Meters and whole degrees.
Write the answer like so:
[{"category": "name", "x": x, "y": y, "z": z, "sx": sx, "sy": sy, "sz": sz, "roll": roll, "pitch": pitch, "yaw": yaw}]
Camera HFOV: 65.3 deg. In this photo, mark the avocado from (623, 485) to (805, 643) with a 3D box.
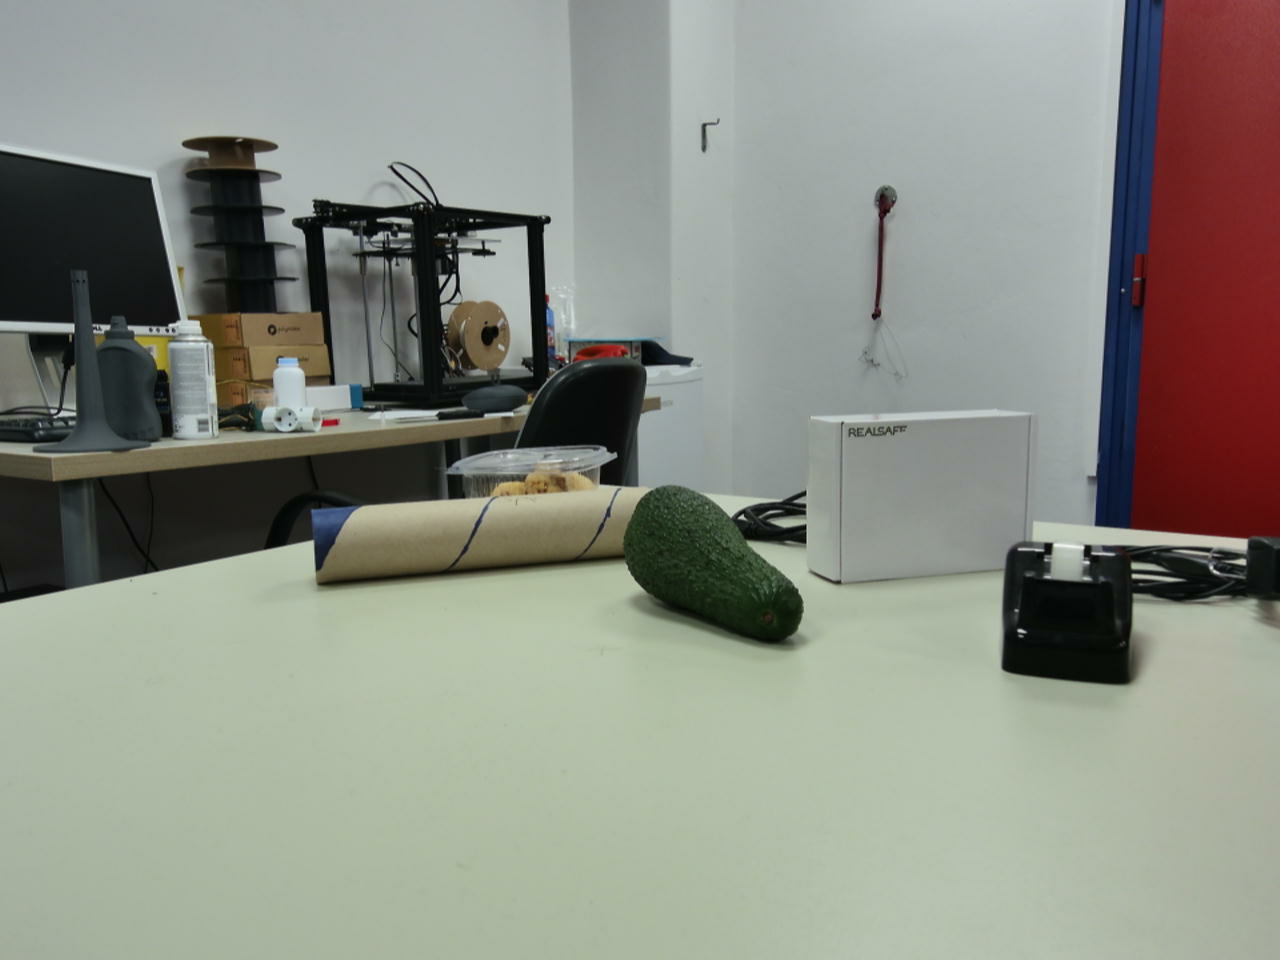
[{"category": "avocado", "x": 0.042, "y": 0.040, "z": 0.534, "sx": 0.063, "sy": 0.067, "sz": 0.141, "roll": -4, "pitch": 7, "yaw": -39}]
